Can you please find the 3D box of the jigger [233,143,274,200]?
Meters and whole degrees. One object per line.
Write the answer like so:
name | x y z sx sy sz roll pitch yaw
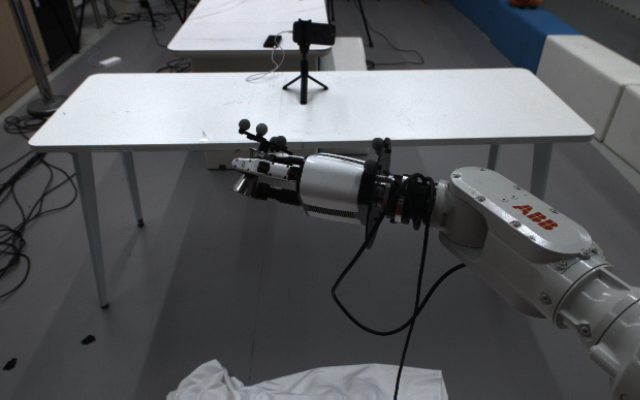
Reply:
jigger | -0.101 -0.040 0.717 0.043 0.071 0.043 24 -2 1
